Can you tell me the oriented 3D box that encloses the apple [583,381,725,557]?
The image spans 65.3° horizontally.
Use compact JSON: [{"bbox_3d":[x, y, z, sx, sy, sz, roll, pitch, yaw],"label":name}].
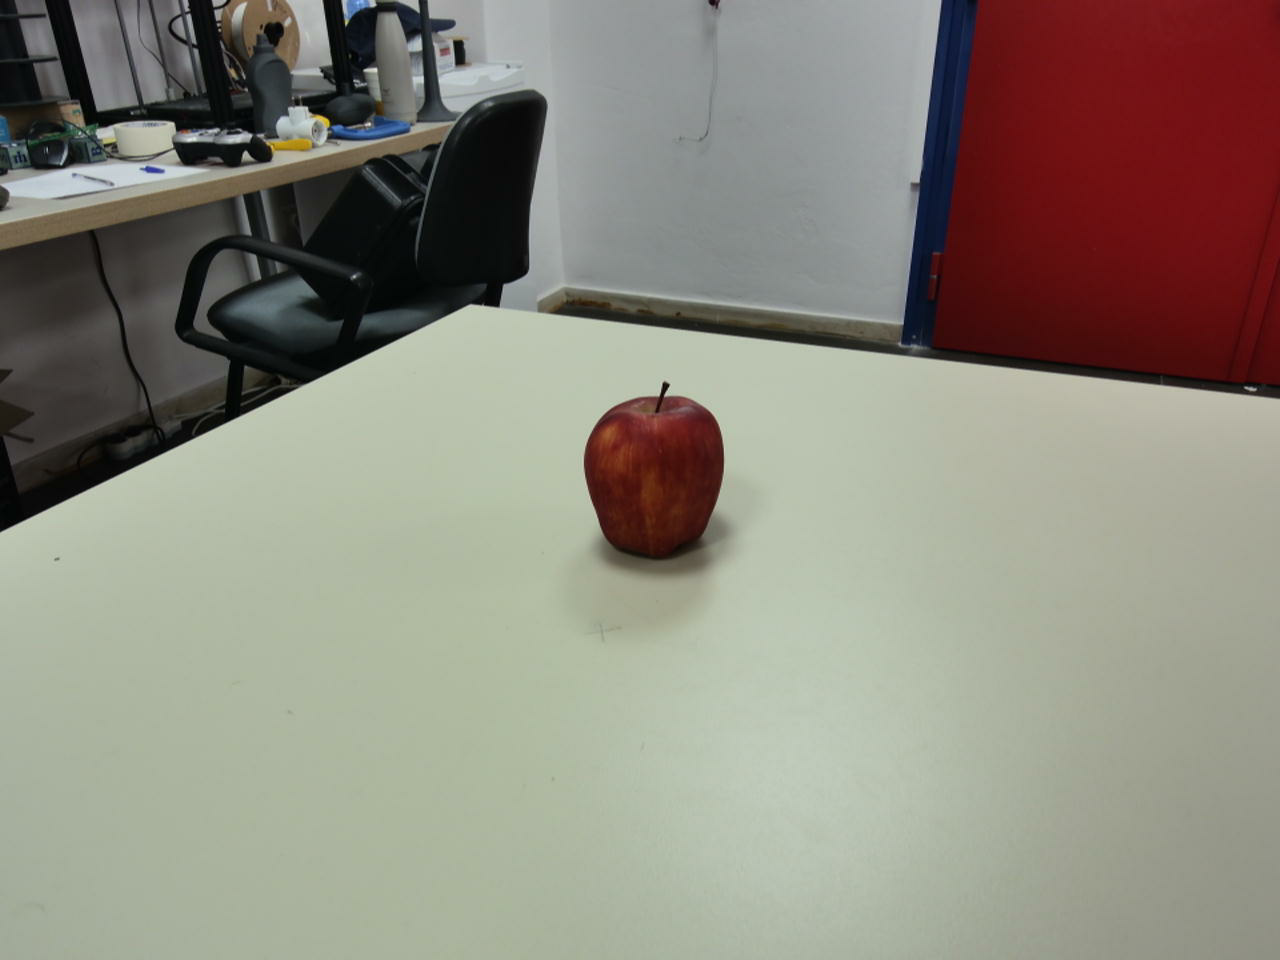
[{"bbox_3d":[0.008,-0.010,0.536,0.083,0.090,0.083,0,25,0],"label":"apple"}]
